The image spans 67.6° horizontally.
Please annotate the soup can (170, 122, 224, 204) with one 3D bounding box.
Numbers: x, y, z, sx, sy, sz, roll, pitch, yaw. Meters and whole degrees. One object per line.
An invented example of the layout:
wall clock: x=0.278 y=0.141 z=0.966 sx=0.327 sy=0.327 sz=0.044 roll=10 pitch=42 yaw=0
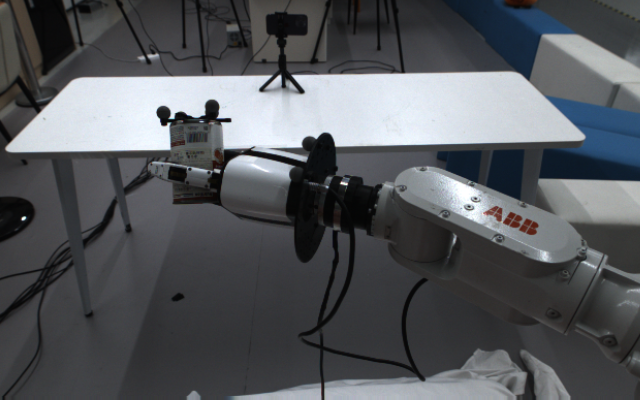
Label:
soup can: x=-0.155 y=-0.045 z=0.617 sx=0.067 sy=0.101 sz=0.067 roll=-3 pitch=-1 yaw=0
